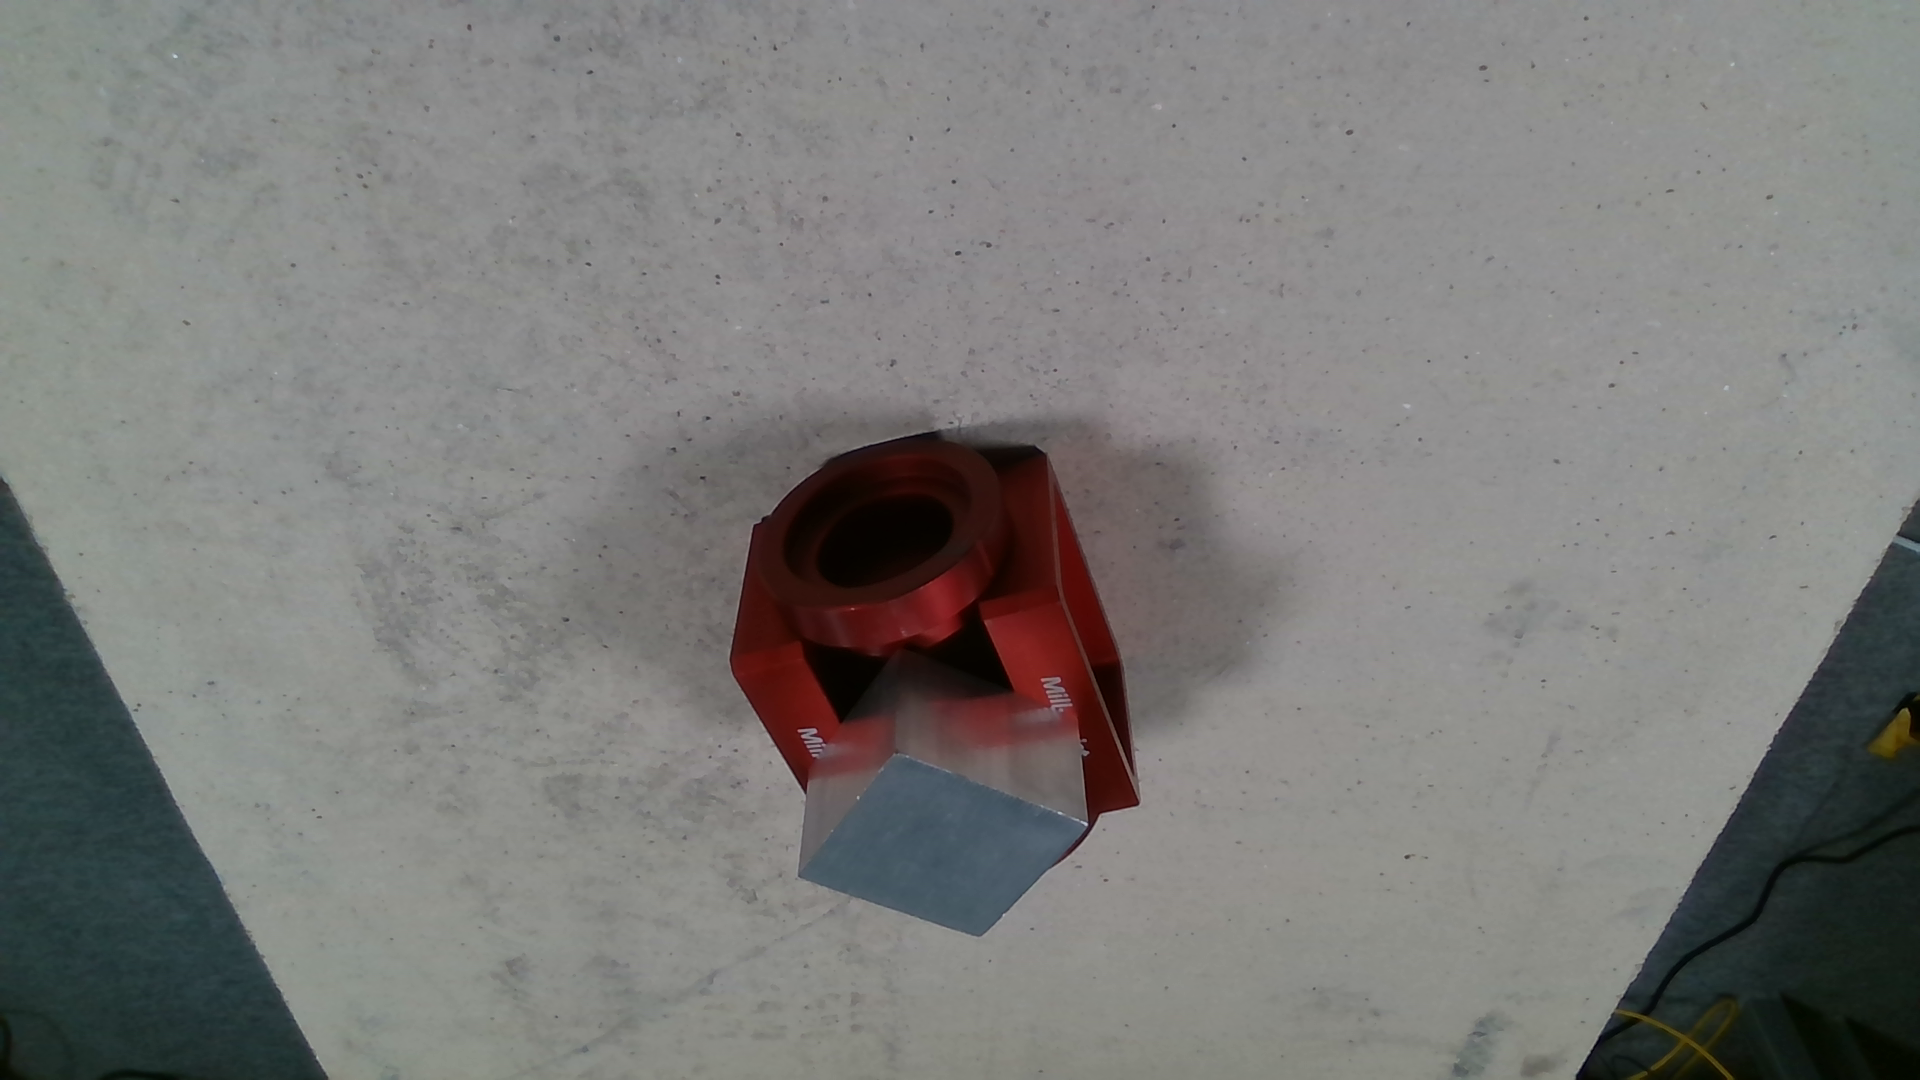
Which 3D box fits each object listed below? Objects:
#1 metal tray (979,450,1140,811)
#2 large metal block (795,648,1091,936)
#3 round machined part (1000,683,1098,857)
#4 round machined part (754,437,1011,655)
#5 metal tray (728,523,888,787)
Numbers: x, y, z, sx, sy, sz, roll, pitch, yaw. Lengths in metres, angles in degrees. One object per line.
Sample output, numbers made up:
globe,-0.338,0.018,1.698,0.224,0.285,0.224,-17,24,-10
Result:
metal tray,0.042,0.040,0.572,0.030,0.090,0.130,-14,129,12
large metal block,-0.007,0.098,0.525,0.080,0.050,0.080,23,126,-19
round machined part,0.013,0.102,0.618,0.098,0.098,0.042,-12,129,10
round machined part,-0.027,0.006,0.537,0.098,0.098,0.042,-12,129,10
metal tray,-0.054,0.063,0.588,0.030,0.090,0.130,-14,129,11
